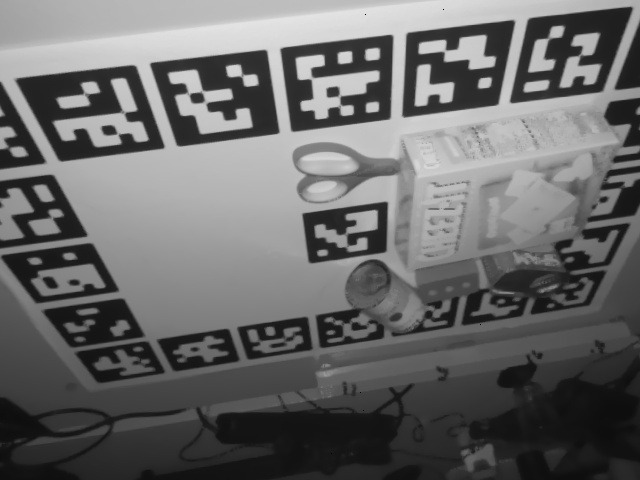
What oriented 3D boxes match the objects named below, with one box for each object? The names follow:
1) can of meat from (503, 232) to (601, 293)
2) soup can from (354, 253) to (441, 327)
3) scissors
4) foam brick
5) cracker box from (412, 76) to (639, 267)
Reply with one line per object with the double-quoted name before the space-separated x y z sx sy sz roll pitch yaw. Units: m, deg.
"can of meat" 0.274 0.015 0.841 0.102 0.084 0.057 2 136 -13
"soup can" 0.100 0.066 0.887 0.067 0.068 0.103 -35 138 25
"scissors" 0.091 -0.095 0.718 0.203 0.016 0.087 -12 138 0
"foam brick" 0.179 0.036 0.872 0.078 0.051 0.052 -15 137 5
"cracker box" 0.212 -0.065 0.730 0.214 0.072 0.163 -15 139 -2
